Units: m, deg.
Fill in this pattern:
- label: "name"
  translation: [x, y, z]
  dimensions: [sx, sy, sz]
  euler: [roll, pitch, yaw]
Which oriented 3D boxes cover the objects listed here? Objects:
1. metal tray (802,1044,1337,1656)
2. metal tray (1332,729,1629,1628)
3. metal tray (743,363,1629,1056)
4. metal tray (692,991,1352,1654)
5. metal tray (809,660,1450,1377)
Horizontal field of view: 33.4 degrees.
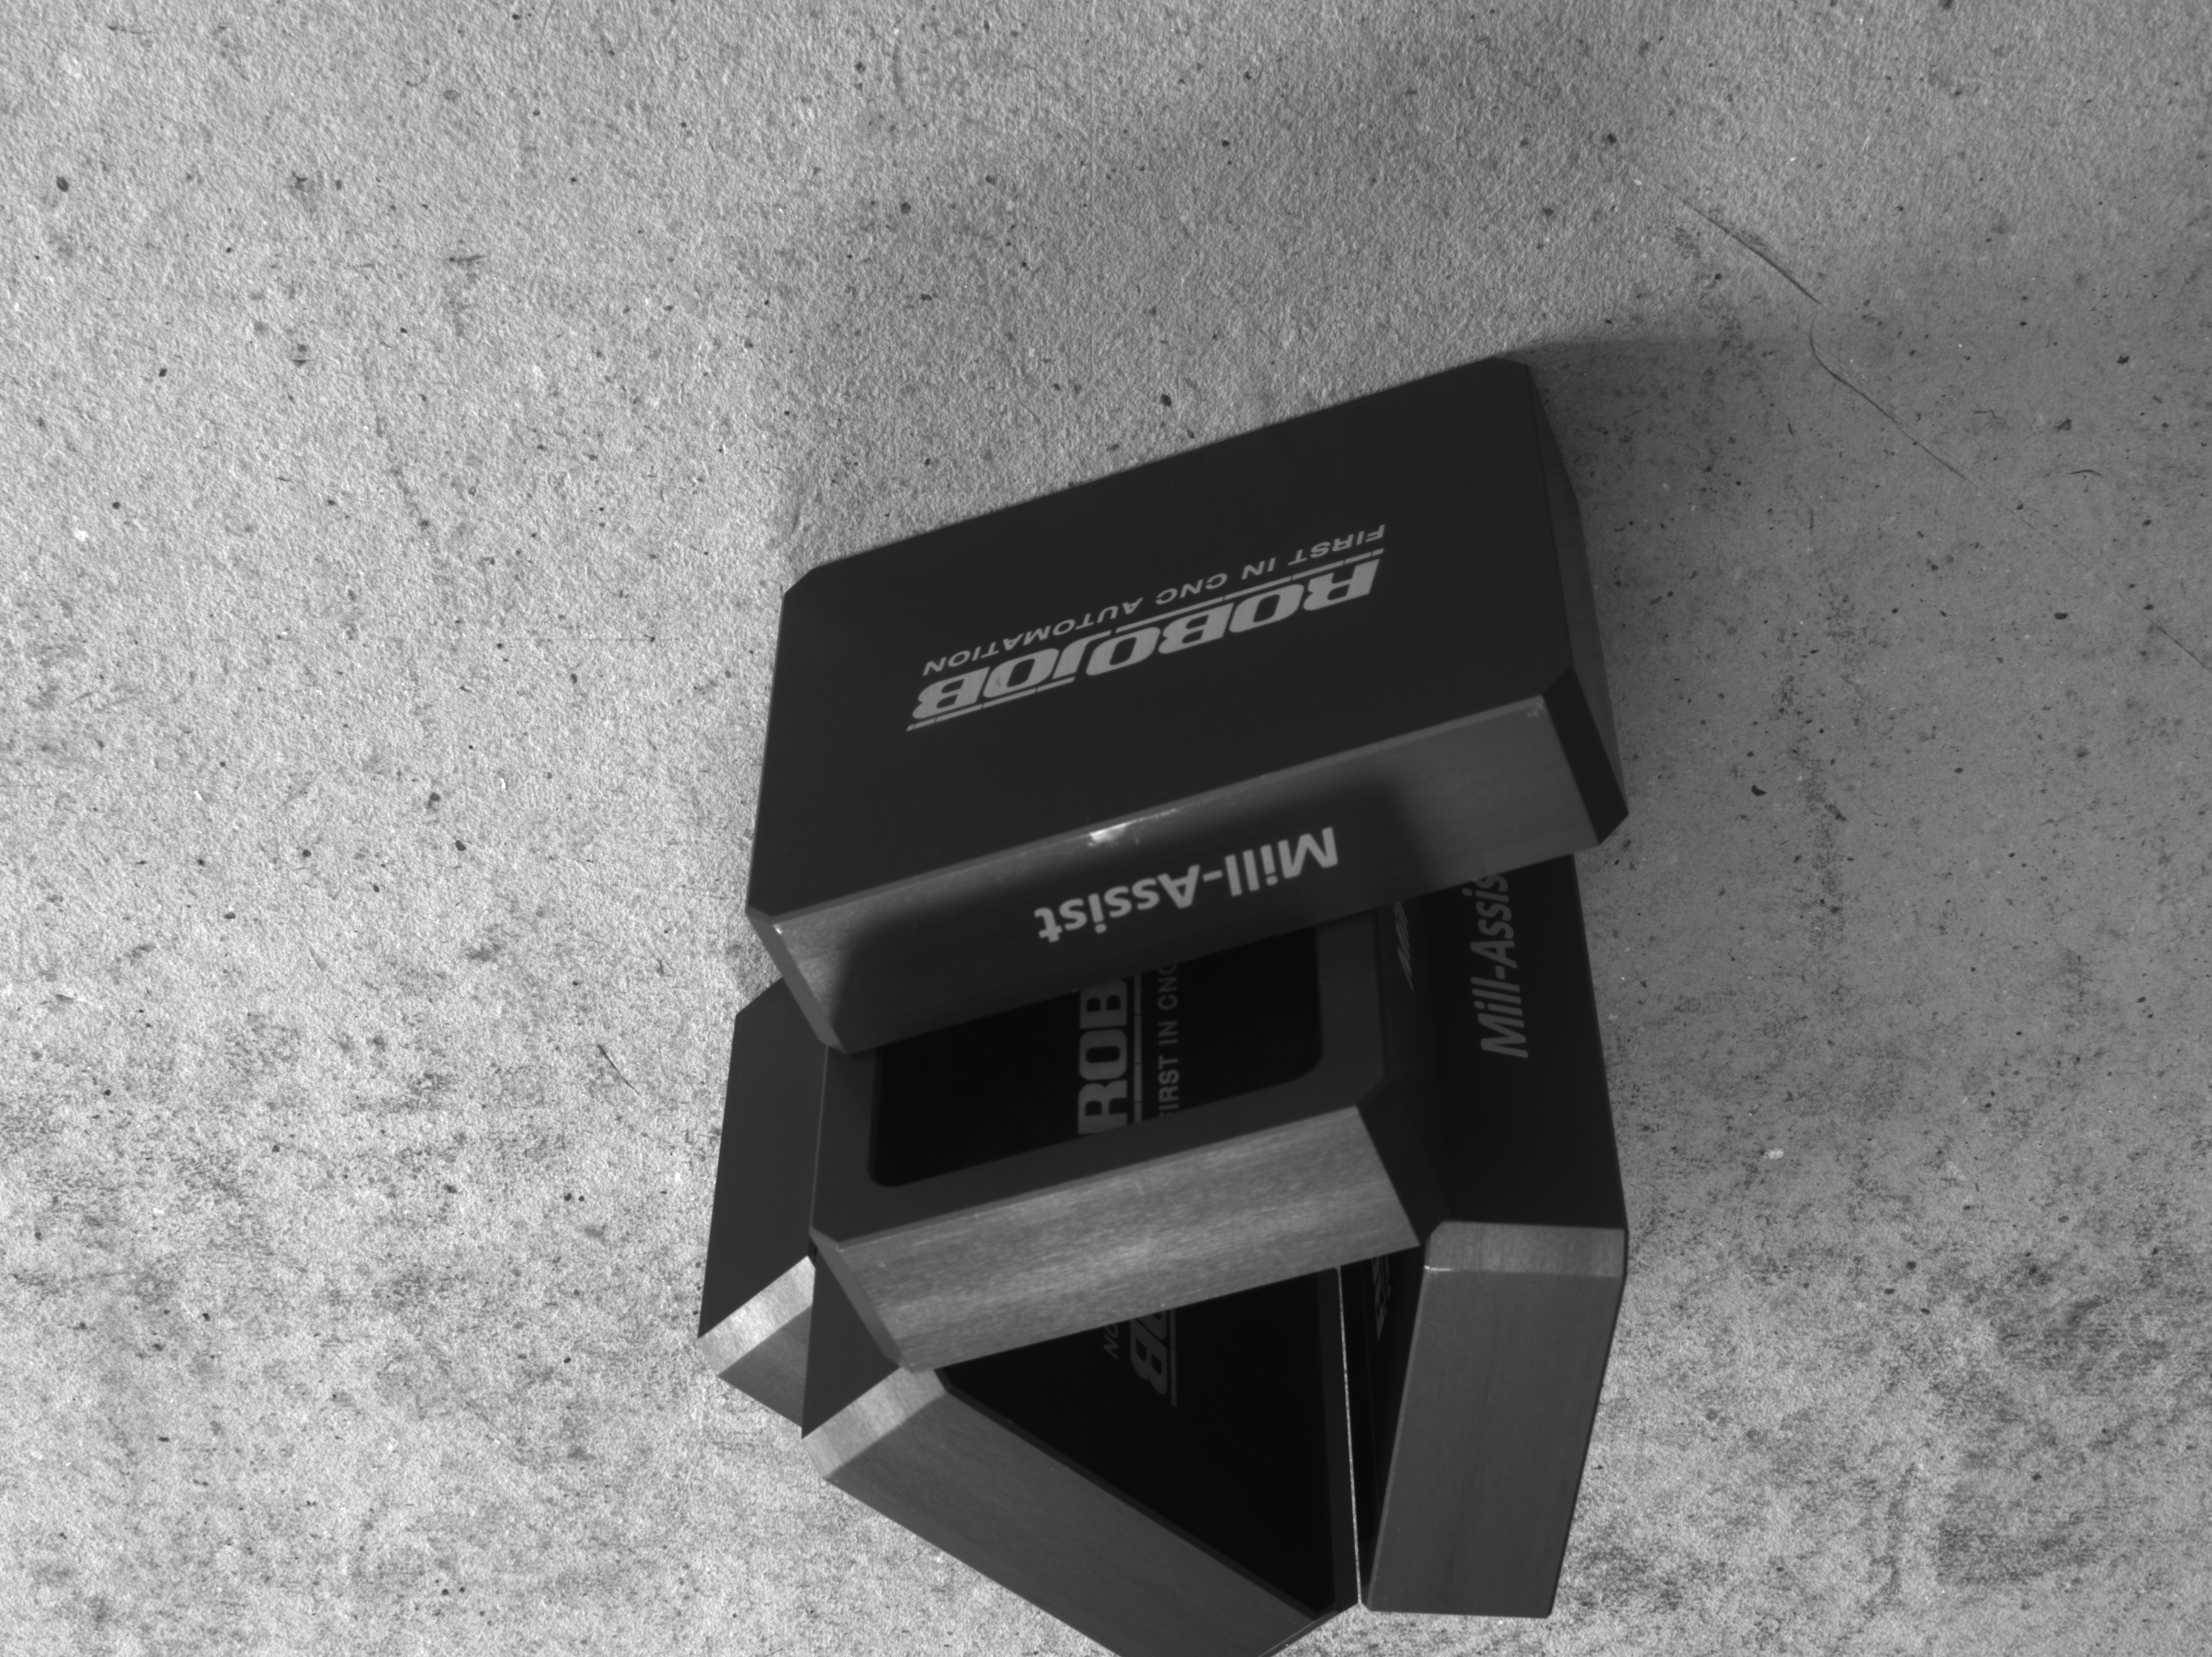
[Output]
- label: "metal tray"
  translation: [-0.005, 0.073, 0.631]
  dimensions: [0.090, 0.130, 0.030]
  euler: [36, 121, -26]
- label: "metal tray"
  translation: [0.059, 0.055, 0.617]
  dimensions: [0.030, 0.130, 0.090]
  euler: [4, 130, -3]
- label: "metal tray"
  translation: [0.011, -0.020, 0.579]
  dimensions: [0.130, 0.090, 0.030]
  euler: [-16, 128, 13]
- label: "metal tray"
  translation: [-0.012, 0.088, 0.669]
  dimensions: [0.130, 0.090, 0.030]
  euler: [36, 122, -26]
- label: "metal tray"
  translation: [0.004, 0.020, 0.587]
  dimensions: [0.090, 0.130, 0.030]
  euler: [-16, 128, 13]
